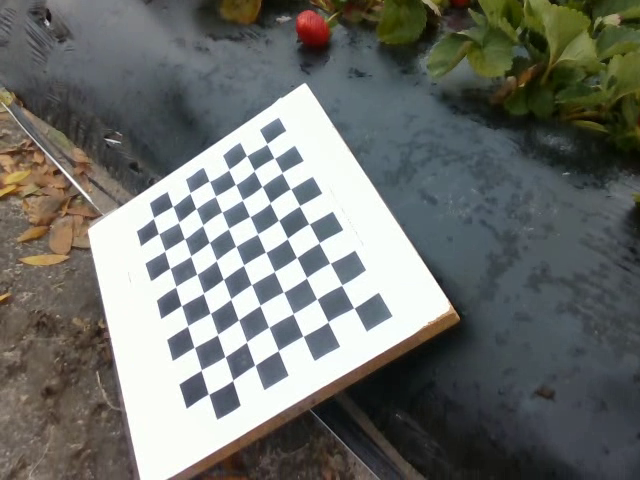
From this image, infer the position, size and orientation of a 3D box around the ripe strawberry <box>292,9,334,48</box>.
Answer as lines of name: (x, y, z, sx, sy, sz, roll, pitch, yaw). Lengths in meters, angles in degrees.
ripe strawberry: (-0.014, -0.262, 0.787, 0.045, 0.048, 0.053, -1, 15, 30)
